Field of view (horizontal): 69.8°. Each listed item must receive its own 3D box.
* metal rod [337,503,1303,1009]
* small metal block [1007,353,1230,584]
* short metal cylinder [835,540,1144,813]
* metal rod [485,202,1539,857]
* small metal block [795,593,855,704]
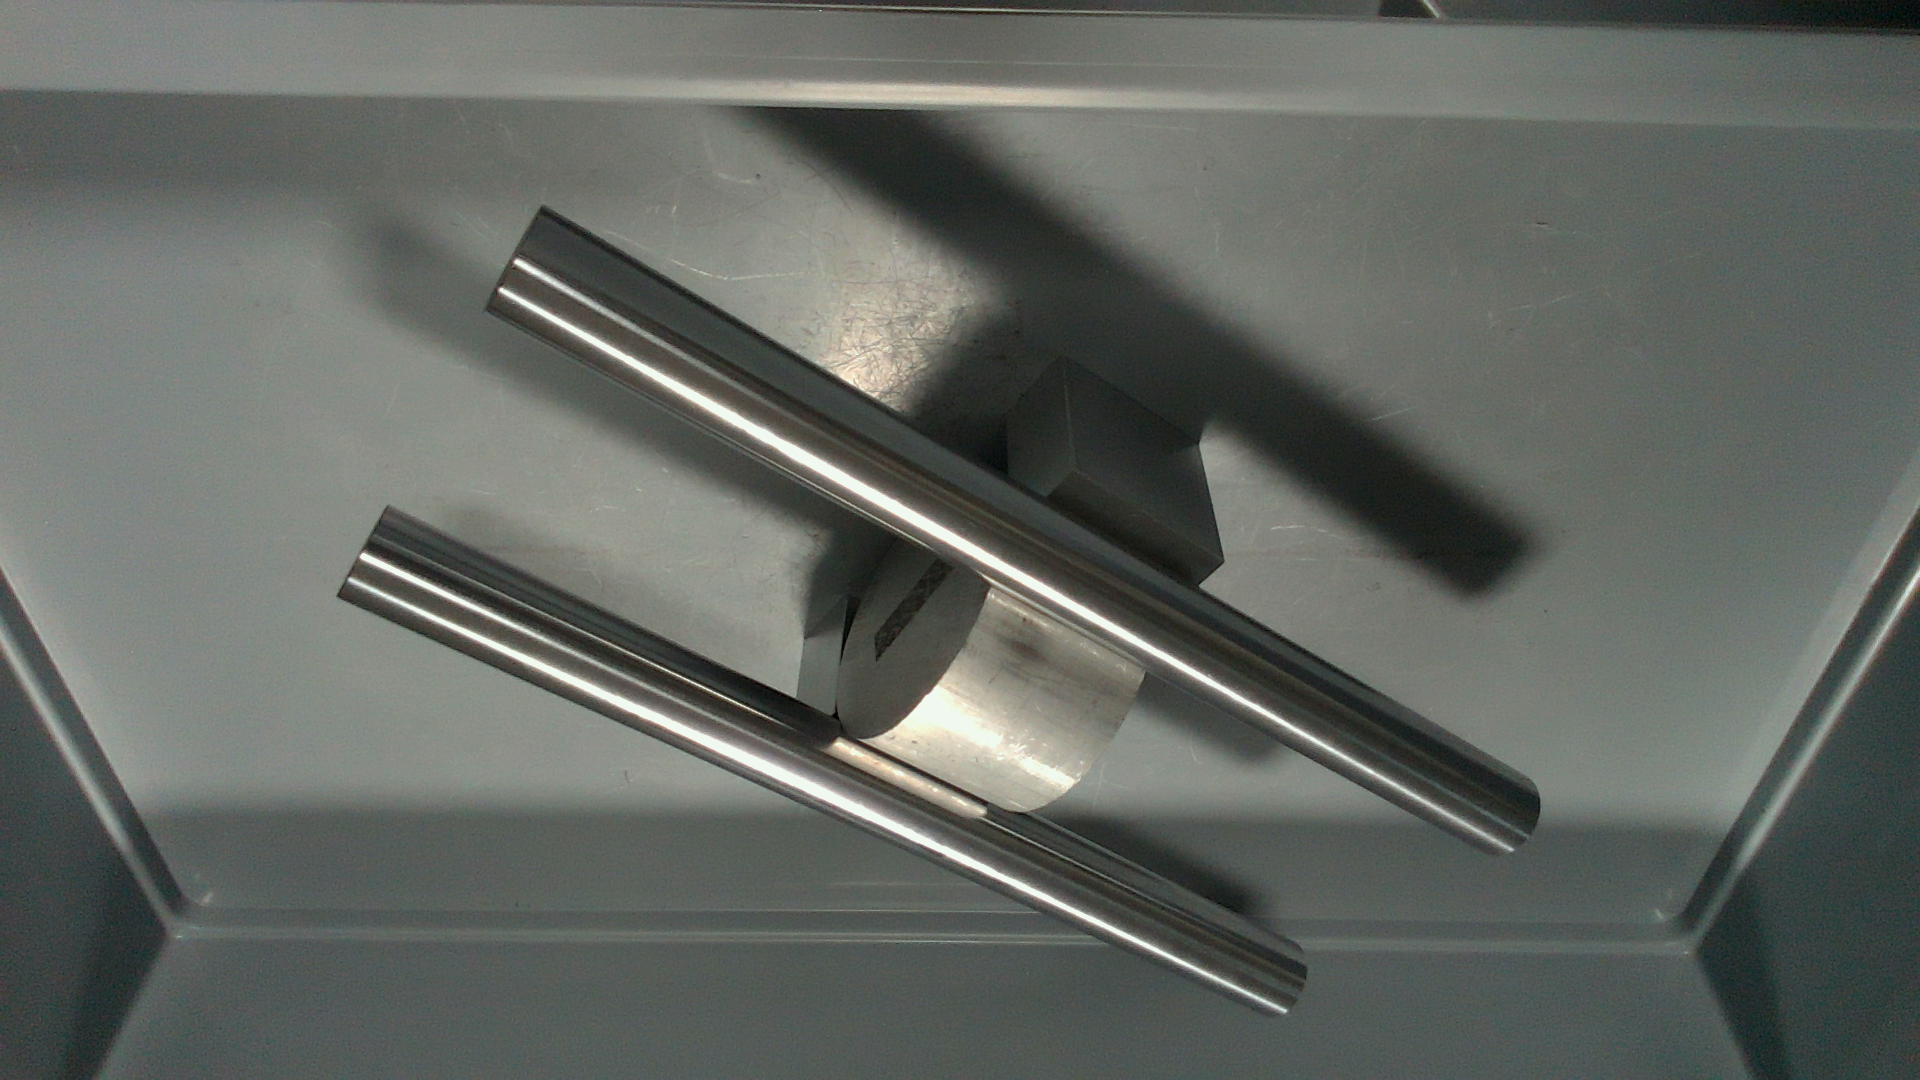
[{"bbox_3d":[-0.021,0.070,0.384,0.301,0.025,0.025,29,124,-22],"label":"metal rod"},{"bbox_3d":[0.040,-0.014,0.360,0.050,0.050,0.025,30,124,-23],"label":"small metal block"},{"bbox_3d":[0.009,0.028,0.376,0.050,0.080,0.080,29,124,-22],"label":"short metal cylinder"},{"bbox_3d":[0.032,0.011,0.333,0.301,0.025,0.025,29,124,-23],"label":"metal rod"},{"bbox_3d":[-0.022,0.051,0.416,0.050,0.050,0.025,30,124,-23],"label":"small metal block"}]
